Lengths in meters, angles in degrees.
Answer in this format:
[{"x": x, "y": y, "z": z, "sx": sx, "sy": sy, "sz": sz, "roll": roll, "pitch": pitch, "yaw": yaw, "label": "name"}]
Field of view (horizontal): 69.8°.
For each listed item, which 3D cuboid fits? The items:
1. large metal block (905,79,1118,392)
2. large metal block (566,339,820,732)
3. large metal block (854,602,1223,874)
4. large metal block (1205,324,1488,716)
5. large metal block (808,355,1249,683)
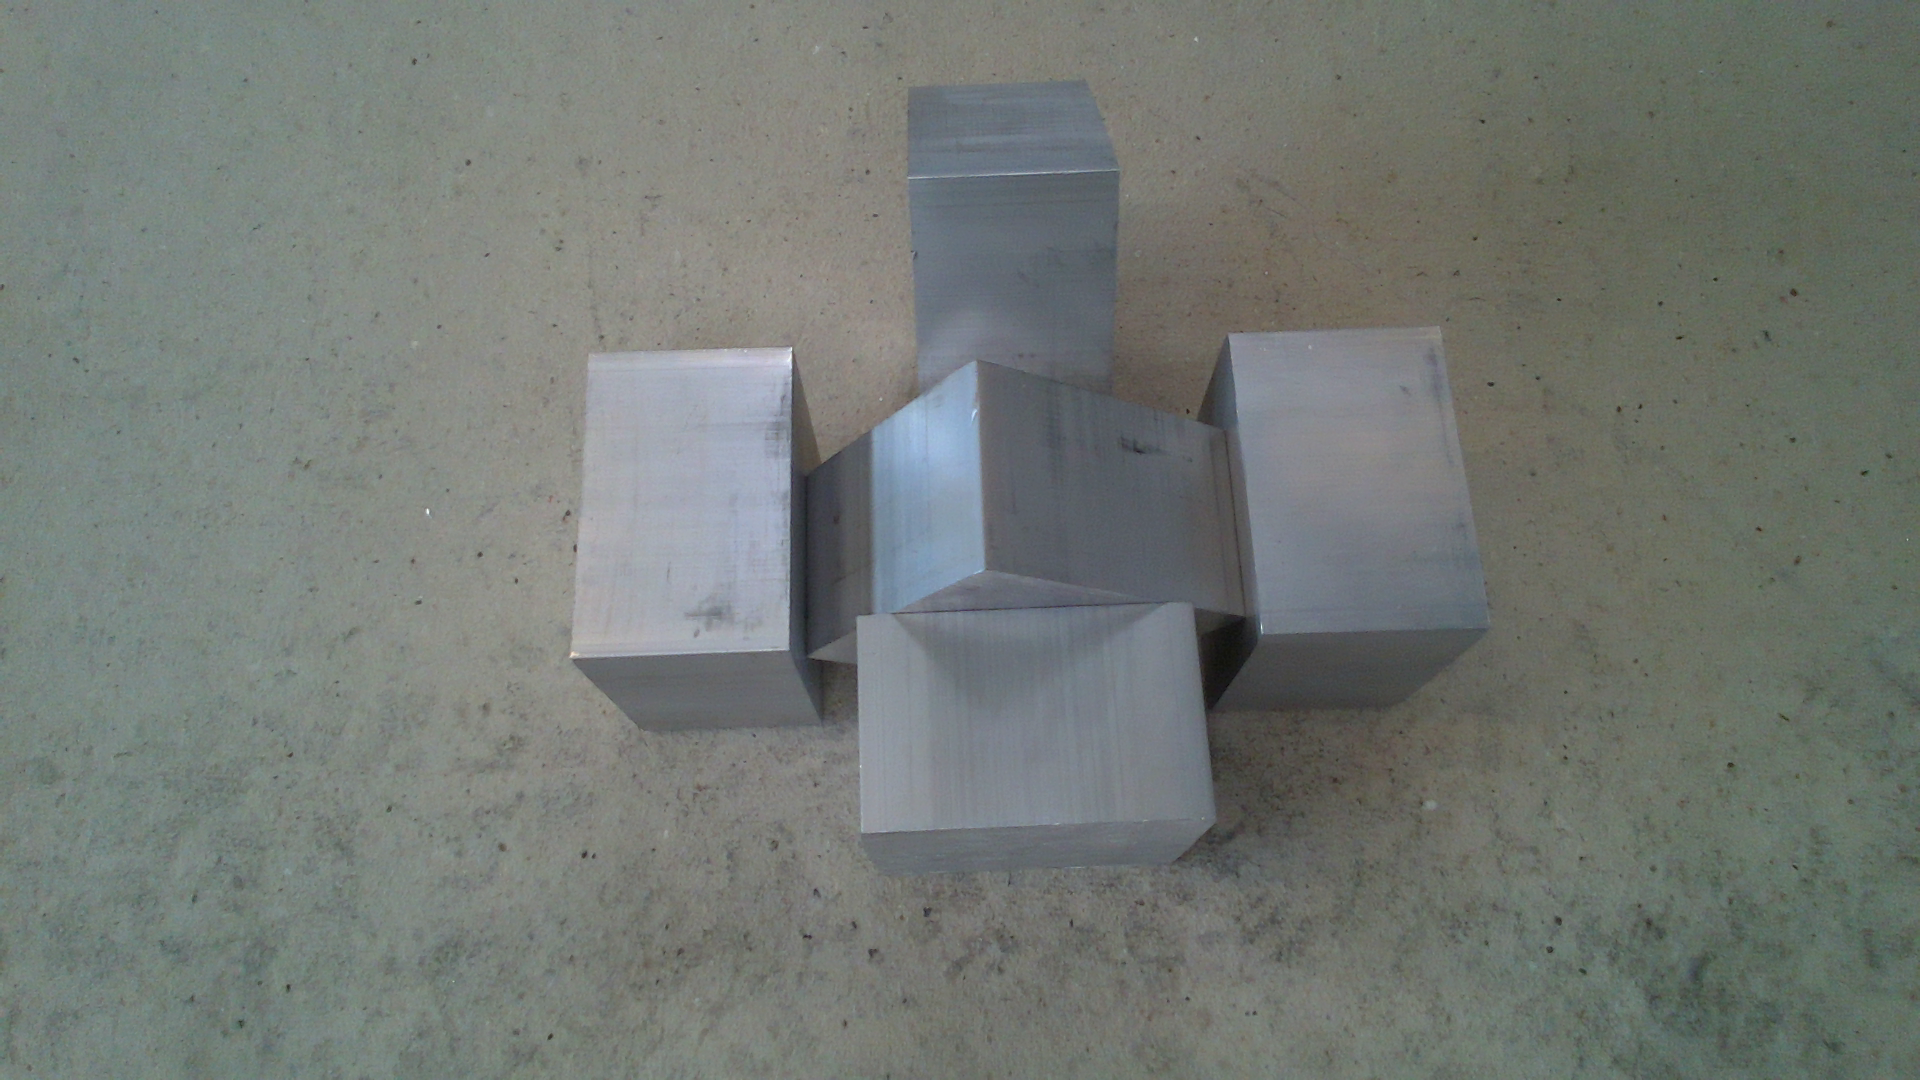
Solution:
[{"x": 0.012, "y": -0.074, "z": 0.377, "sx": 0.050, "sy": 0.080, "sz": 0.080, "roll": -3, "pitch": 33, "yaw": -1, "label": "large metal block"}, {"x": -0.066, "y": 0.002, "z": 0.364, "sx": 0.050, "sy": 0.080, "sz": 0.080, "roll": -2, "pitch": 70, "yaw": -1, "label": "large metal block"}, {"x": 0.017, "y": 0.053, "z": 0.347, "sx": 0.080, "sy": 0.080, "sz": 0.050, "roll": -3, "pitch": 70, "yaw": -1, "label": "large metal block"}, {"x": 0.094, "y": -0.001, "z": 0.366, "sx": 0.050, "sy": 0.080, "sz": 0.080, "roll": -2, "pitch": 69, "yaw": -1, "label": "large metal block"}, {"x": 0.014, "y": 0.001, "z": 0.350, "sx": 0.080, "sy": 0.080, "sz": 0.050, "roll": 12, "pitch": 65, "yaw": -33, "label": "large metal block"}]
